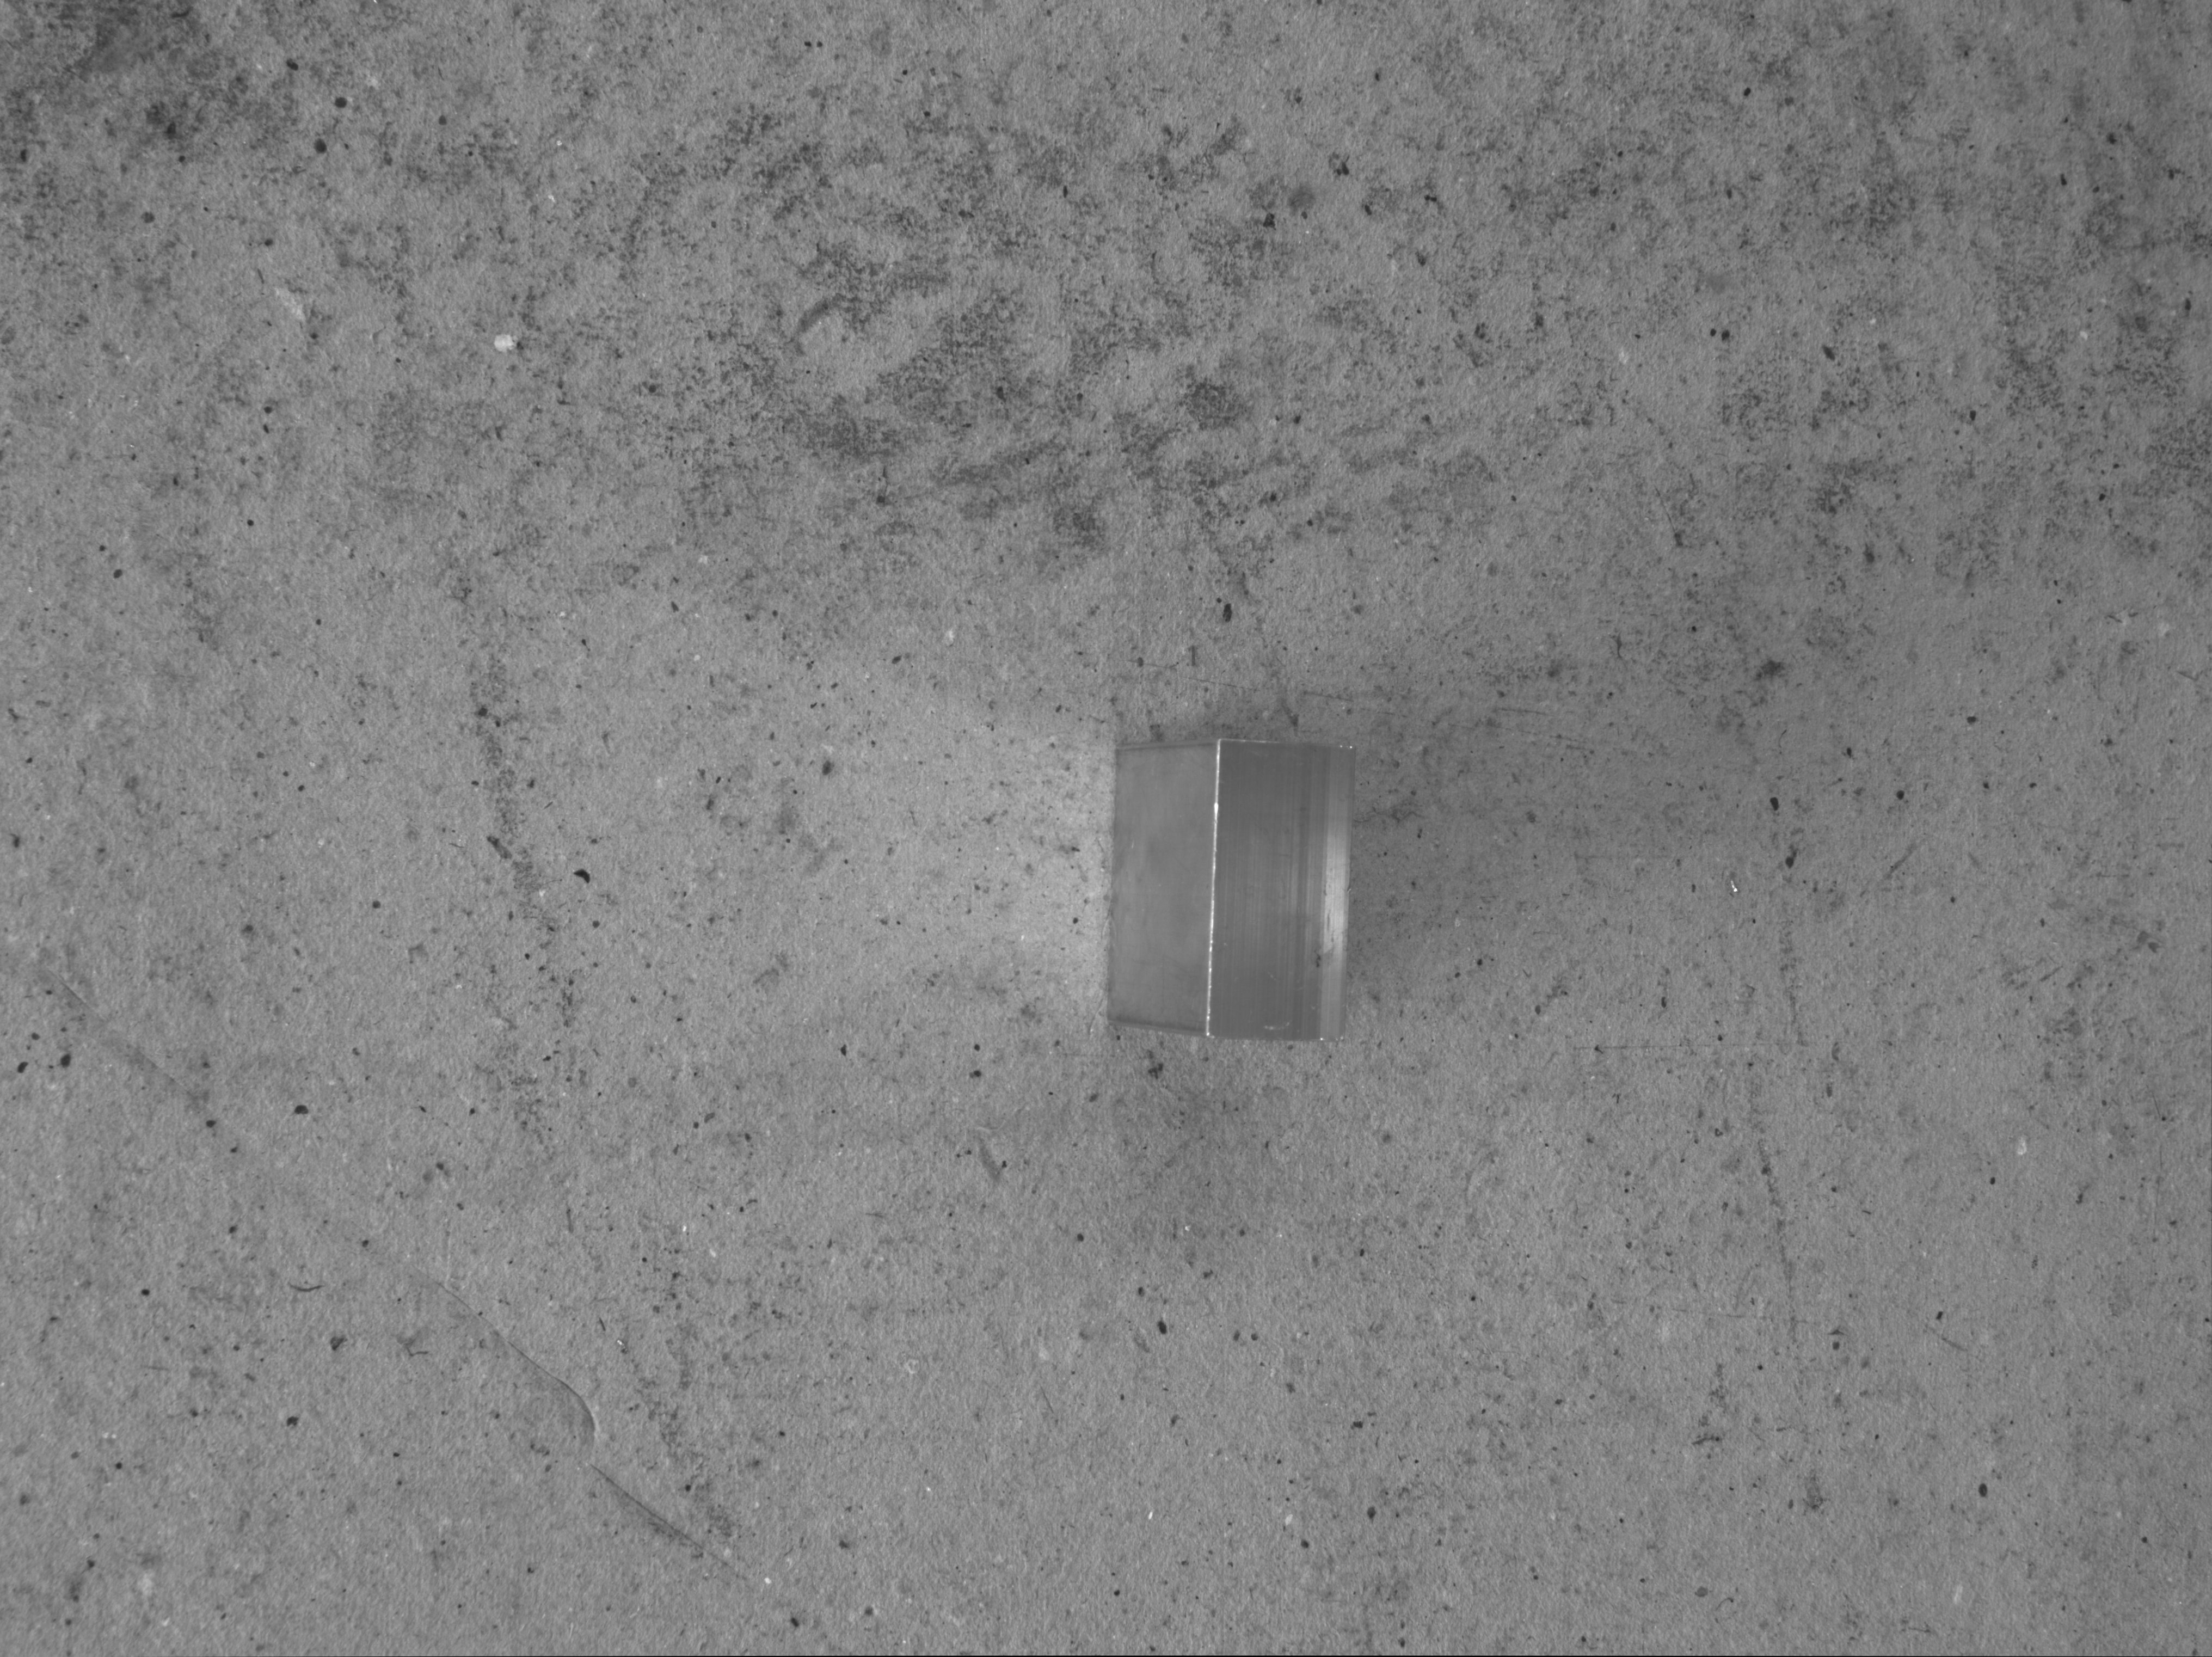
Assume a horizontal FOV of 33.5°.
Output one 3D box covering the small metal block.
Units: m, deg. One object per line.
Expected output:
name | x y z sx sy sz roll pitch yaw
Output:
small metal block | 0.020 0.011 0.638 0.025 0.050 0.050 2 89 -20
